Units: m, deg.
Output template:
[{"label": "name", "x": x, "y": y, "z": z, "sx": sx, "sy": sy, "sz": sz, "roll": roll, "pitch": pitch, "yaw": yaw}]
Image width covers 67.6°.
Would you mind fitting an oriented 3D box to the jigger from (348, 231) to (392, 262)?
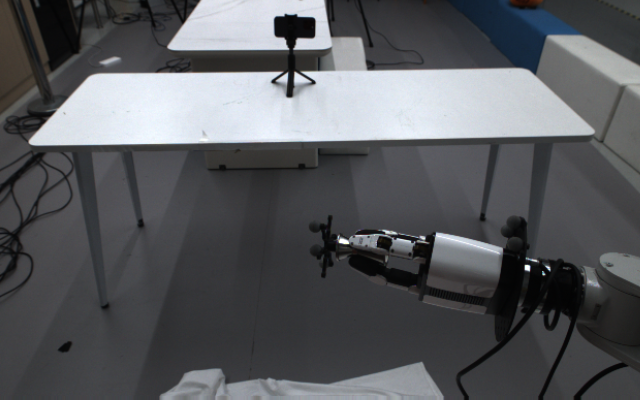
[{"label": "jigger", "x": 0.066, "y": 0.063, "z": 0.667, "sx": 0.071, "sy": 0.043, "sz": 0.043, "roll": 3, "pitch": 34, "yaw": 15}]
